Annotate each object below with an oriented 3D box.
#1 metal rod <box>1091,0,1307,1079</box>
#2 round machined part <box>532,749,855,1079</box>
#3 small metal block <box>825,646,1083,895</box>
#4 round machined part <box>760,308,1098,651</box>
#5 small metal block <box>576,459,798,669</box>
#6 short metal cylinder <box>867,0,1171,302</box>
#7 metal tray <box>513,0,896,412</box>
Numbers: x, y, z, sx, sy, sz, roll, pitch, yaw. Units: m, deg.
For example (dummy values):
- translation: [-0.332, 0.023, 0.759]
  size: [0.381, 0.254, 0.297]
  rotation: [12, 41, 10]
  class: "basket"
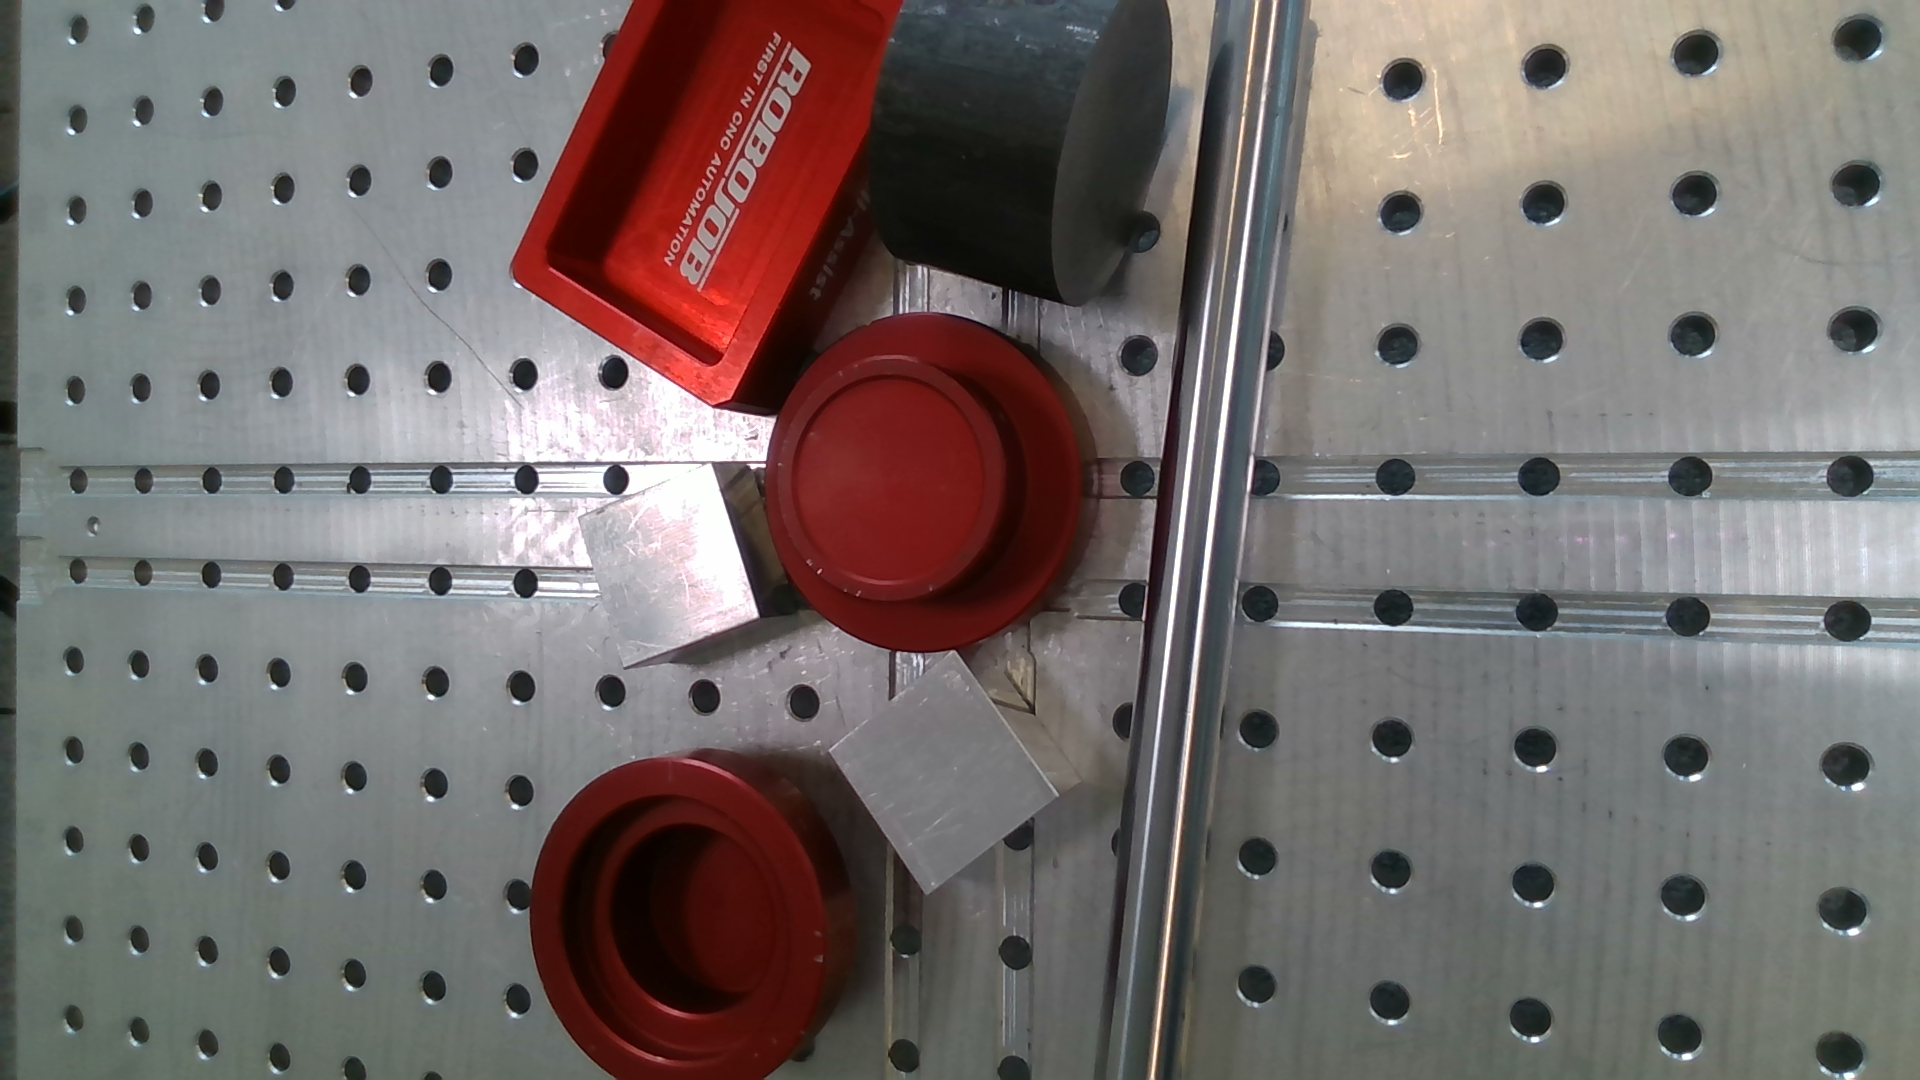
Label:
- translation: [0.064, 0.004, 0.373]
  size: [0.025, 0.025, 0.300]
  rotation: [7, 93, 20]
  class: "metal rod"
- translation: [-0.076, 0.111, 0.416]
  size: [0.098, 0.042, 0.098]
  rotation: [0, 90, 20]
  class: "round machined part"
- translation: [-0.002, 0.065, 0.398]
  size: [0.050, 0.025, 0.050]
  rotation: [-40, 77, 16]
  class: "small metal block"
- translation: [-0.013, -0.017, 0.391]
  size: [0.098, 0.042, 0.098]
  rotation: [0, 91, 17]
  class: "round machined part"
- translation: [-0.085, 0.008, 0.428]
  size: [0.050, 0.025, 0.050]
  rotation: [-20, 83, 19]
  class: "small metal block"
- translation: [0.017, -0.108, 0.360]
  size: [0.050, 0.080, 0.080]
  rotation: [19, 97, 19]
  class: "short metal cylinder"
- translation: [-0.069, -0.116, 0.418]
  size: [0.090, 0.030, 0.130]
  rotation: [32, 101, 17]
  class: "metal tray"
